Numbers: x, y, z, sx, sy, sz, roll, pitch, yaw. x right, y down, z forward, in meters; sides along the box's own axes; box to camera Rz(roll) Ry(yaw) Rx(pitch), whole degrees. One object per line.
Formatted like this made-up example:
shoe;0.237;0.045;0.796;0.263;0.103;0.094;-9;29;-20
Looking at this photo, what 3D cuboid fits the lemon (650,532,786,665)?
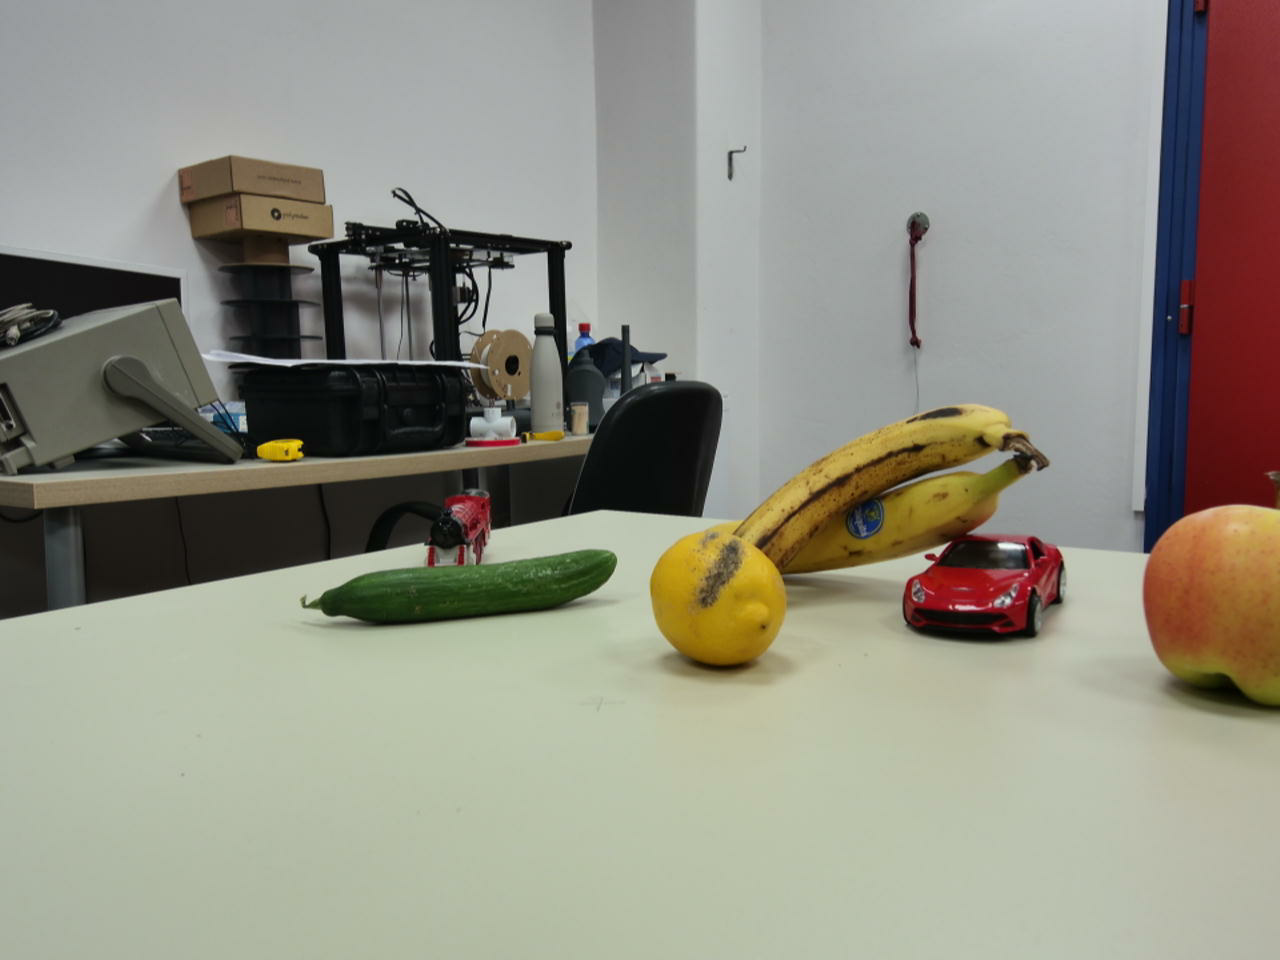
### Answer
lemon;0.035;0.052;0.437;0.061;0.056;0.058;2;4;29
